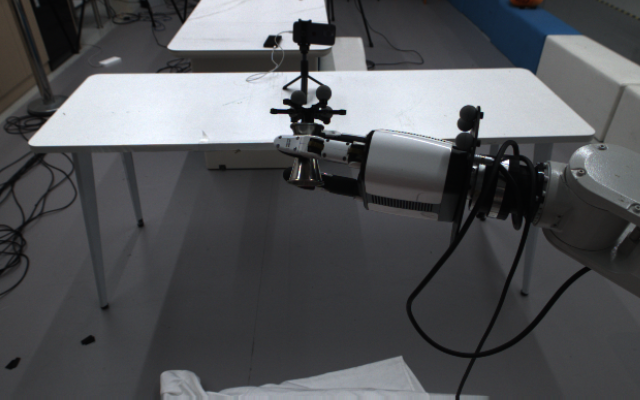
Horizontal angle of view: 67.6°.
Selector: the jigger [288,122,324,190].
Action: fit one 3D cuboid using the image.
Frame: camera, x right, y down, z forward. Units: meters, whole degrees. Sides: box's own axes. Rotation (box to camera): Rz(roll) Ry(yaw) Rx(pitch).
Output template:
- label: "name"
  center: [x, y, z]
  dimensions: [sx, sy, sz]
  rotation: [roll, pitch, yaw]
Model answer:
- label: "jigger"
  center: [-0.016, -0.052, 0.563]
  dimensions: [0.043, 0.071, 0.043]
  rotation: [2, -6, 0]
